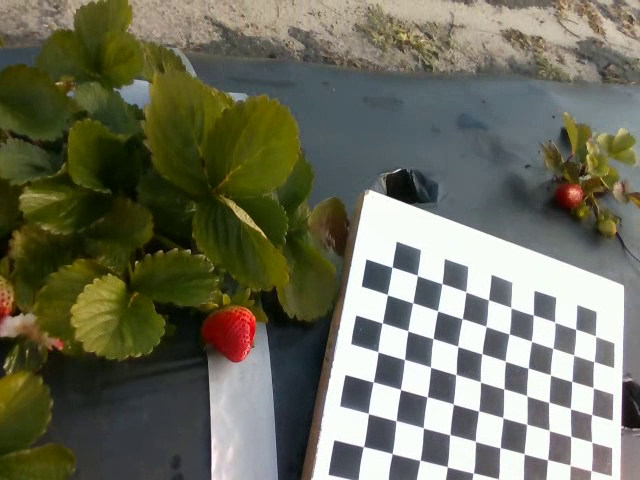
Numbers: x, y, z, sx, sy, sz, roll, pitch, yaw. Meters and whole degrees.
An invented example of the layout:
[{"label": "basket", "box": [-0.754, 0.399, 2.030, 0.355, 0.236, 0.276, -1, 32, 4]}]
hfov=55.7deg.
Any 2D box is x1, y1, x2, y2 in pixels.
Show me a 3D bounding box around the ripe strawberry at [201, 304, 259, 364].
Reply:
[{"label": "ripe strawberry", "box": [-0.058, 0.067, 0.411, 0.050, 0.055, 0.036, 16, -39, -25]}]
